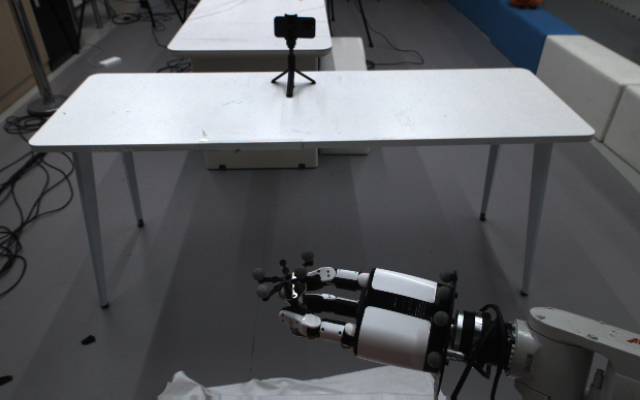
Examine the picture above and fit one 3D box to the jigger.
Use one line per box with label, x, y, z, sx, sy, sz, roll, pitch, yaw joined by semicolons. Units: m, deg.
jigger;-0.027;0.146;0.657;0.043;0.071;0.043;-12;29;7
